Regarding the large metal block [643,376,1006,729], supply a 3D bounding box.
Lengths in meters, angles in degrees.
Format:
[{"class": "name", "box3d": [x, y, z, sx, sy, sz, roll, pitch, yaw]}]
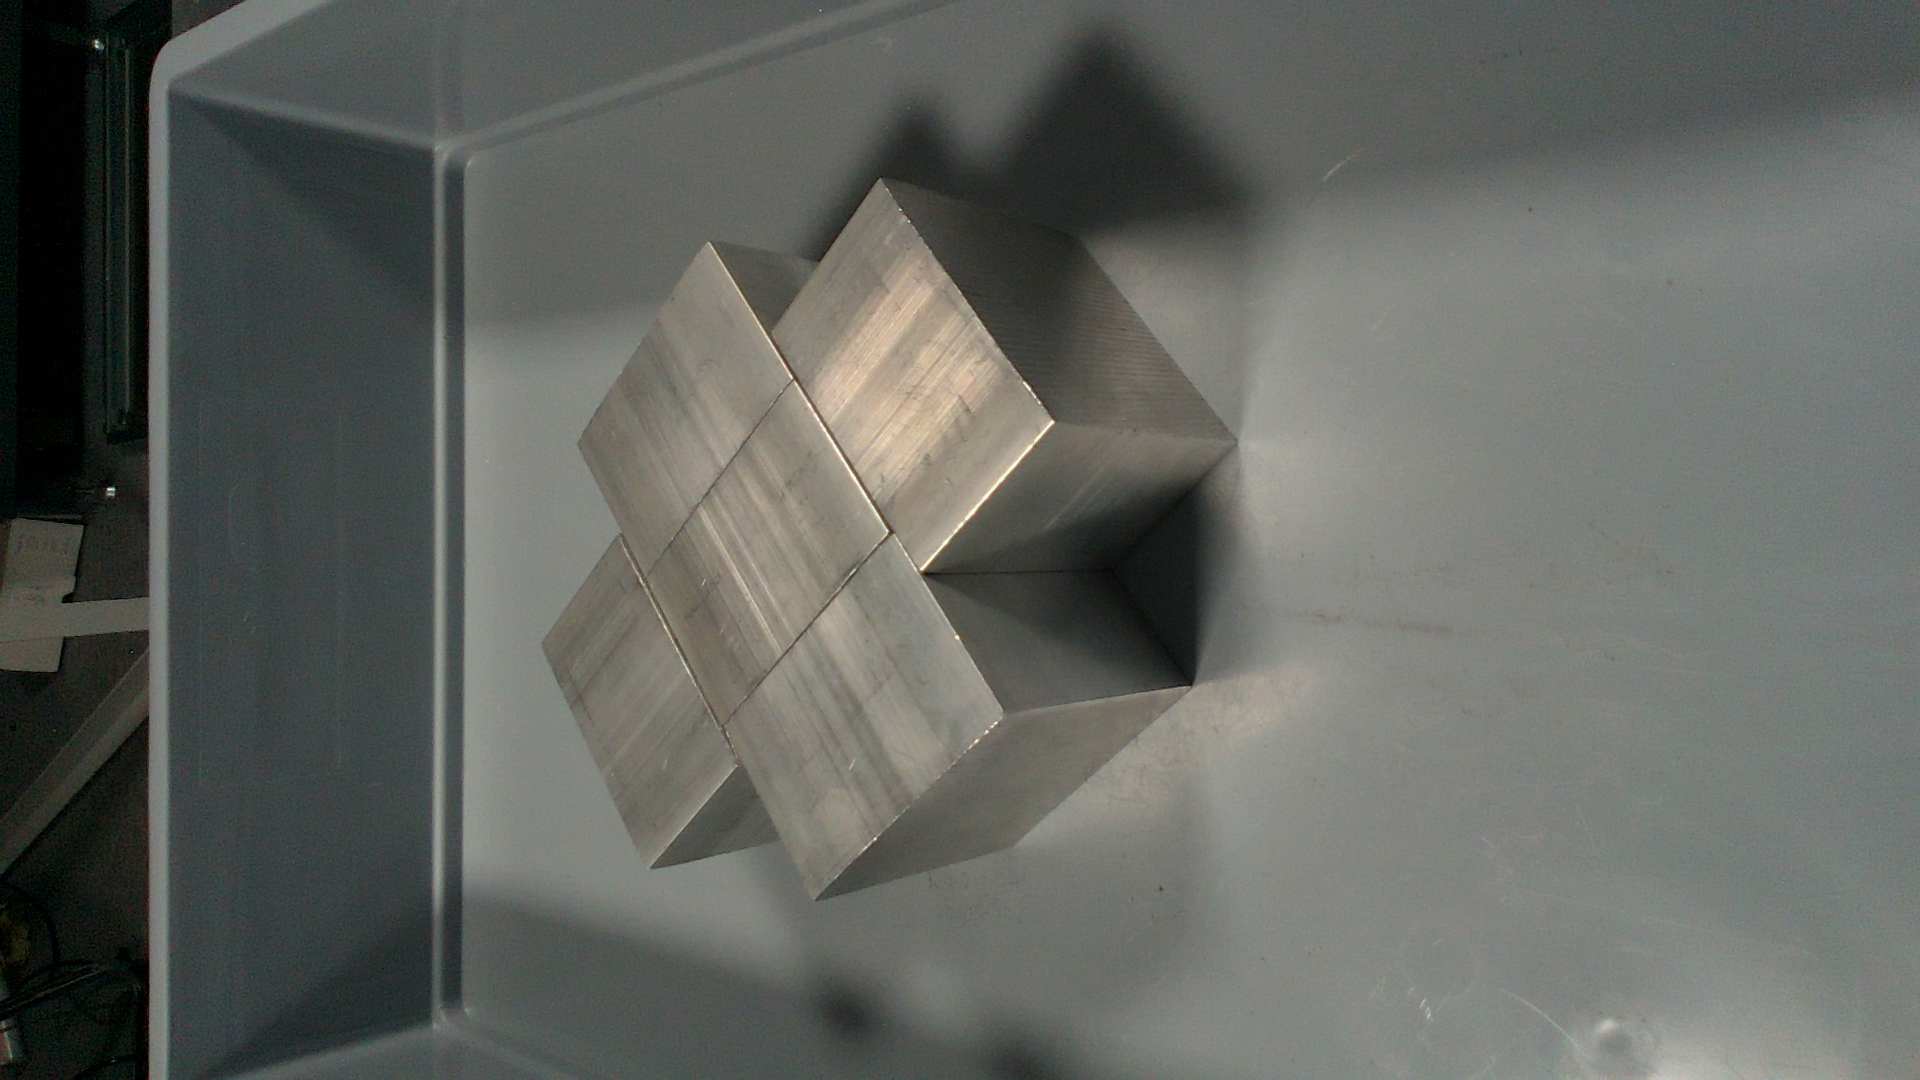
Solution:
[{"class": "large metal block", "box3d": [-0.026, 0.004, 0.380, 0.080, 0.080, 0.050, -48, 61, 29]}]

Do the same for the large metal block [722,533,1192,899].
[{"class": "large metal block", "box3d": [-0.001, 0.043, 0.359, 0.080, 0.080, 0.050, -48, 61, 29]}]

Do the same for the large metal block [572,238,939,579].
[{"class": "large metal block", "box3d": [-0.051, -0.034, 0.401, 0.080, 0.080, 0.050, -48, 61, 29]}]

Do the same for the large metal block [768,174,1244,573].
[{"class": "large metal block", "box3d": [0.012, -0.039, 0.348, 0.050, 0.080, 0.080, -48, 61, 29]}]

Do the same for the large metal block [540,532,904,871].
[{"class": "large metal block", "box3d": [-0.065, 0.044, 0.414, 0.050, 0.080, 0.080, -48, 61, 29]}]
